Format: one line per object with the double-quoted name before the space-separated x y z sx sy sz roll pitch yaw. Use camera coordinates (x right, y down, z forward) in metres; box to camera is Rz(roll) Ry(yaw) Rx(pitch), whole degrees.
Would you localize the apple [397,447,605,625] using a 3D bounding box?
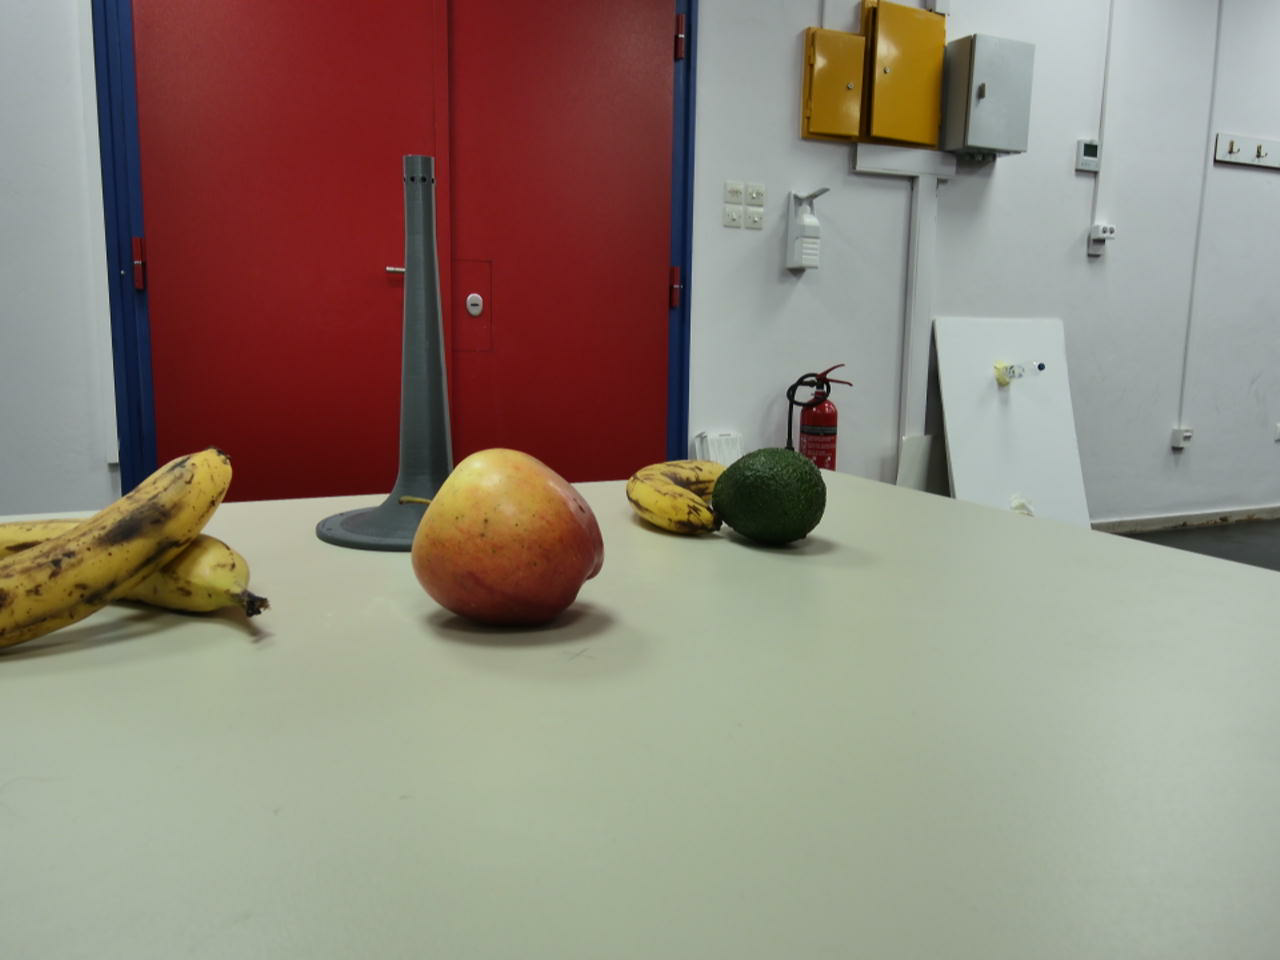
"apple" -0.067 0.028 0.489 0.093 0.084 0.086 4 7 29
